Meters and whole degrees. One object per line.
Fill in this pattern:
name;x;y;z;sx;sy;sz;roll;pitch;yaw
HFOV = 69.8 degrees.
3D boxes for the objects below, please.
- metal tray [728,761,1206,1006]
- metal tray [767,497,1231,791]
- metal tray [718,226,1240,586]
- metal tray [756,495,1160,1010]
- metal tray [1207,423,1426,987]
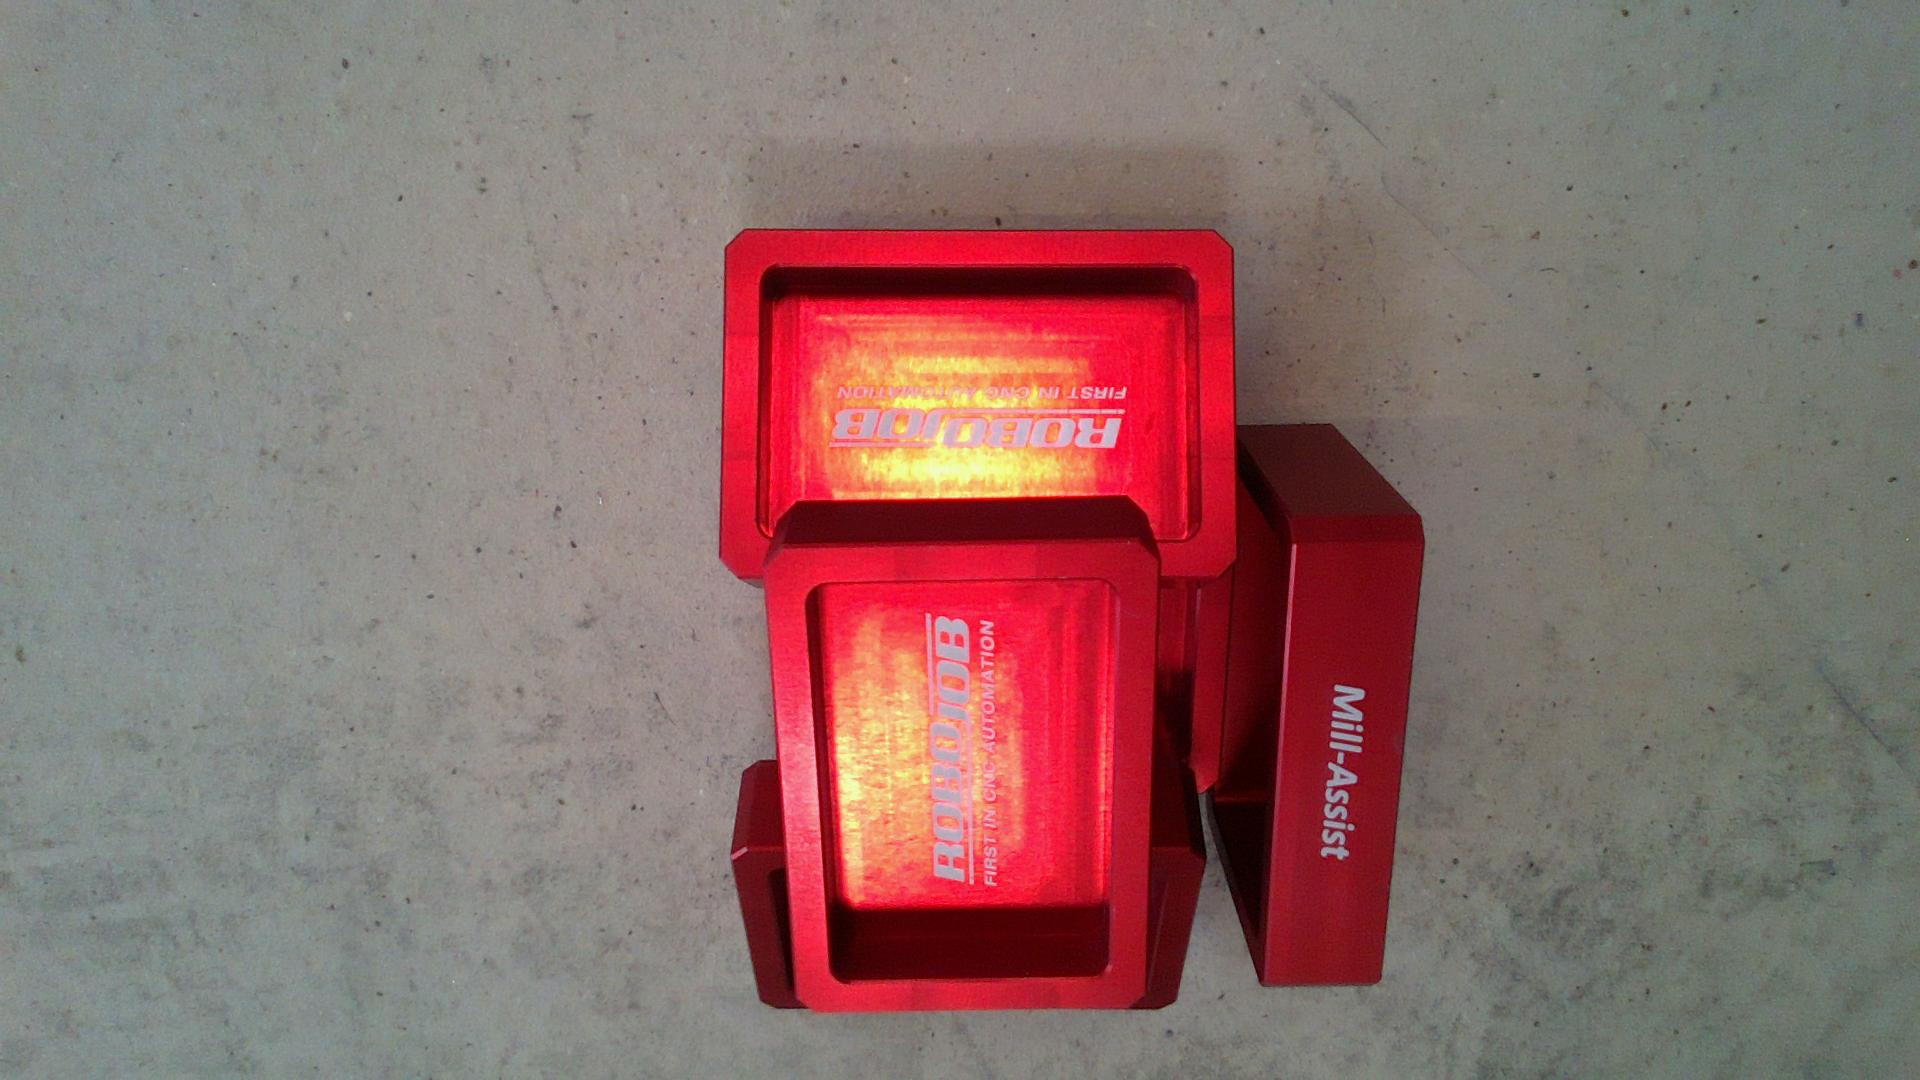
metal tray;0.002;0.105;0.412;0.130;0.030;0.090;0;135;0
metal tray;0.010;0.027;0.400;0.130;0.030;0.090;-1;112;0
metal tray;0.005;-0.034;0.361;0.130;0.030;0.090;0;83;-1
metal tray;0.001;0.055;0.343;0.090;0.030;0.130;-1;113;0
metal tray;0.092;0.042;0.375;0.030;0.090;0.130;-1;111;1
